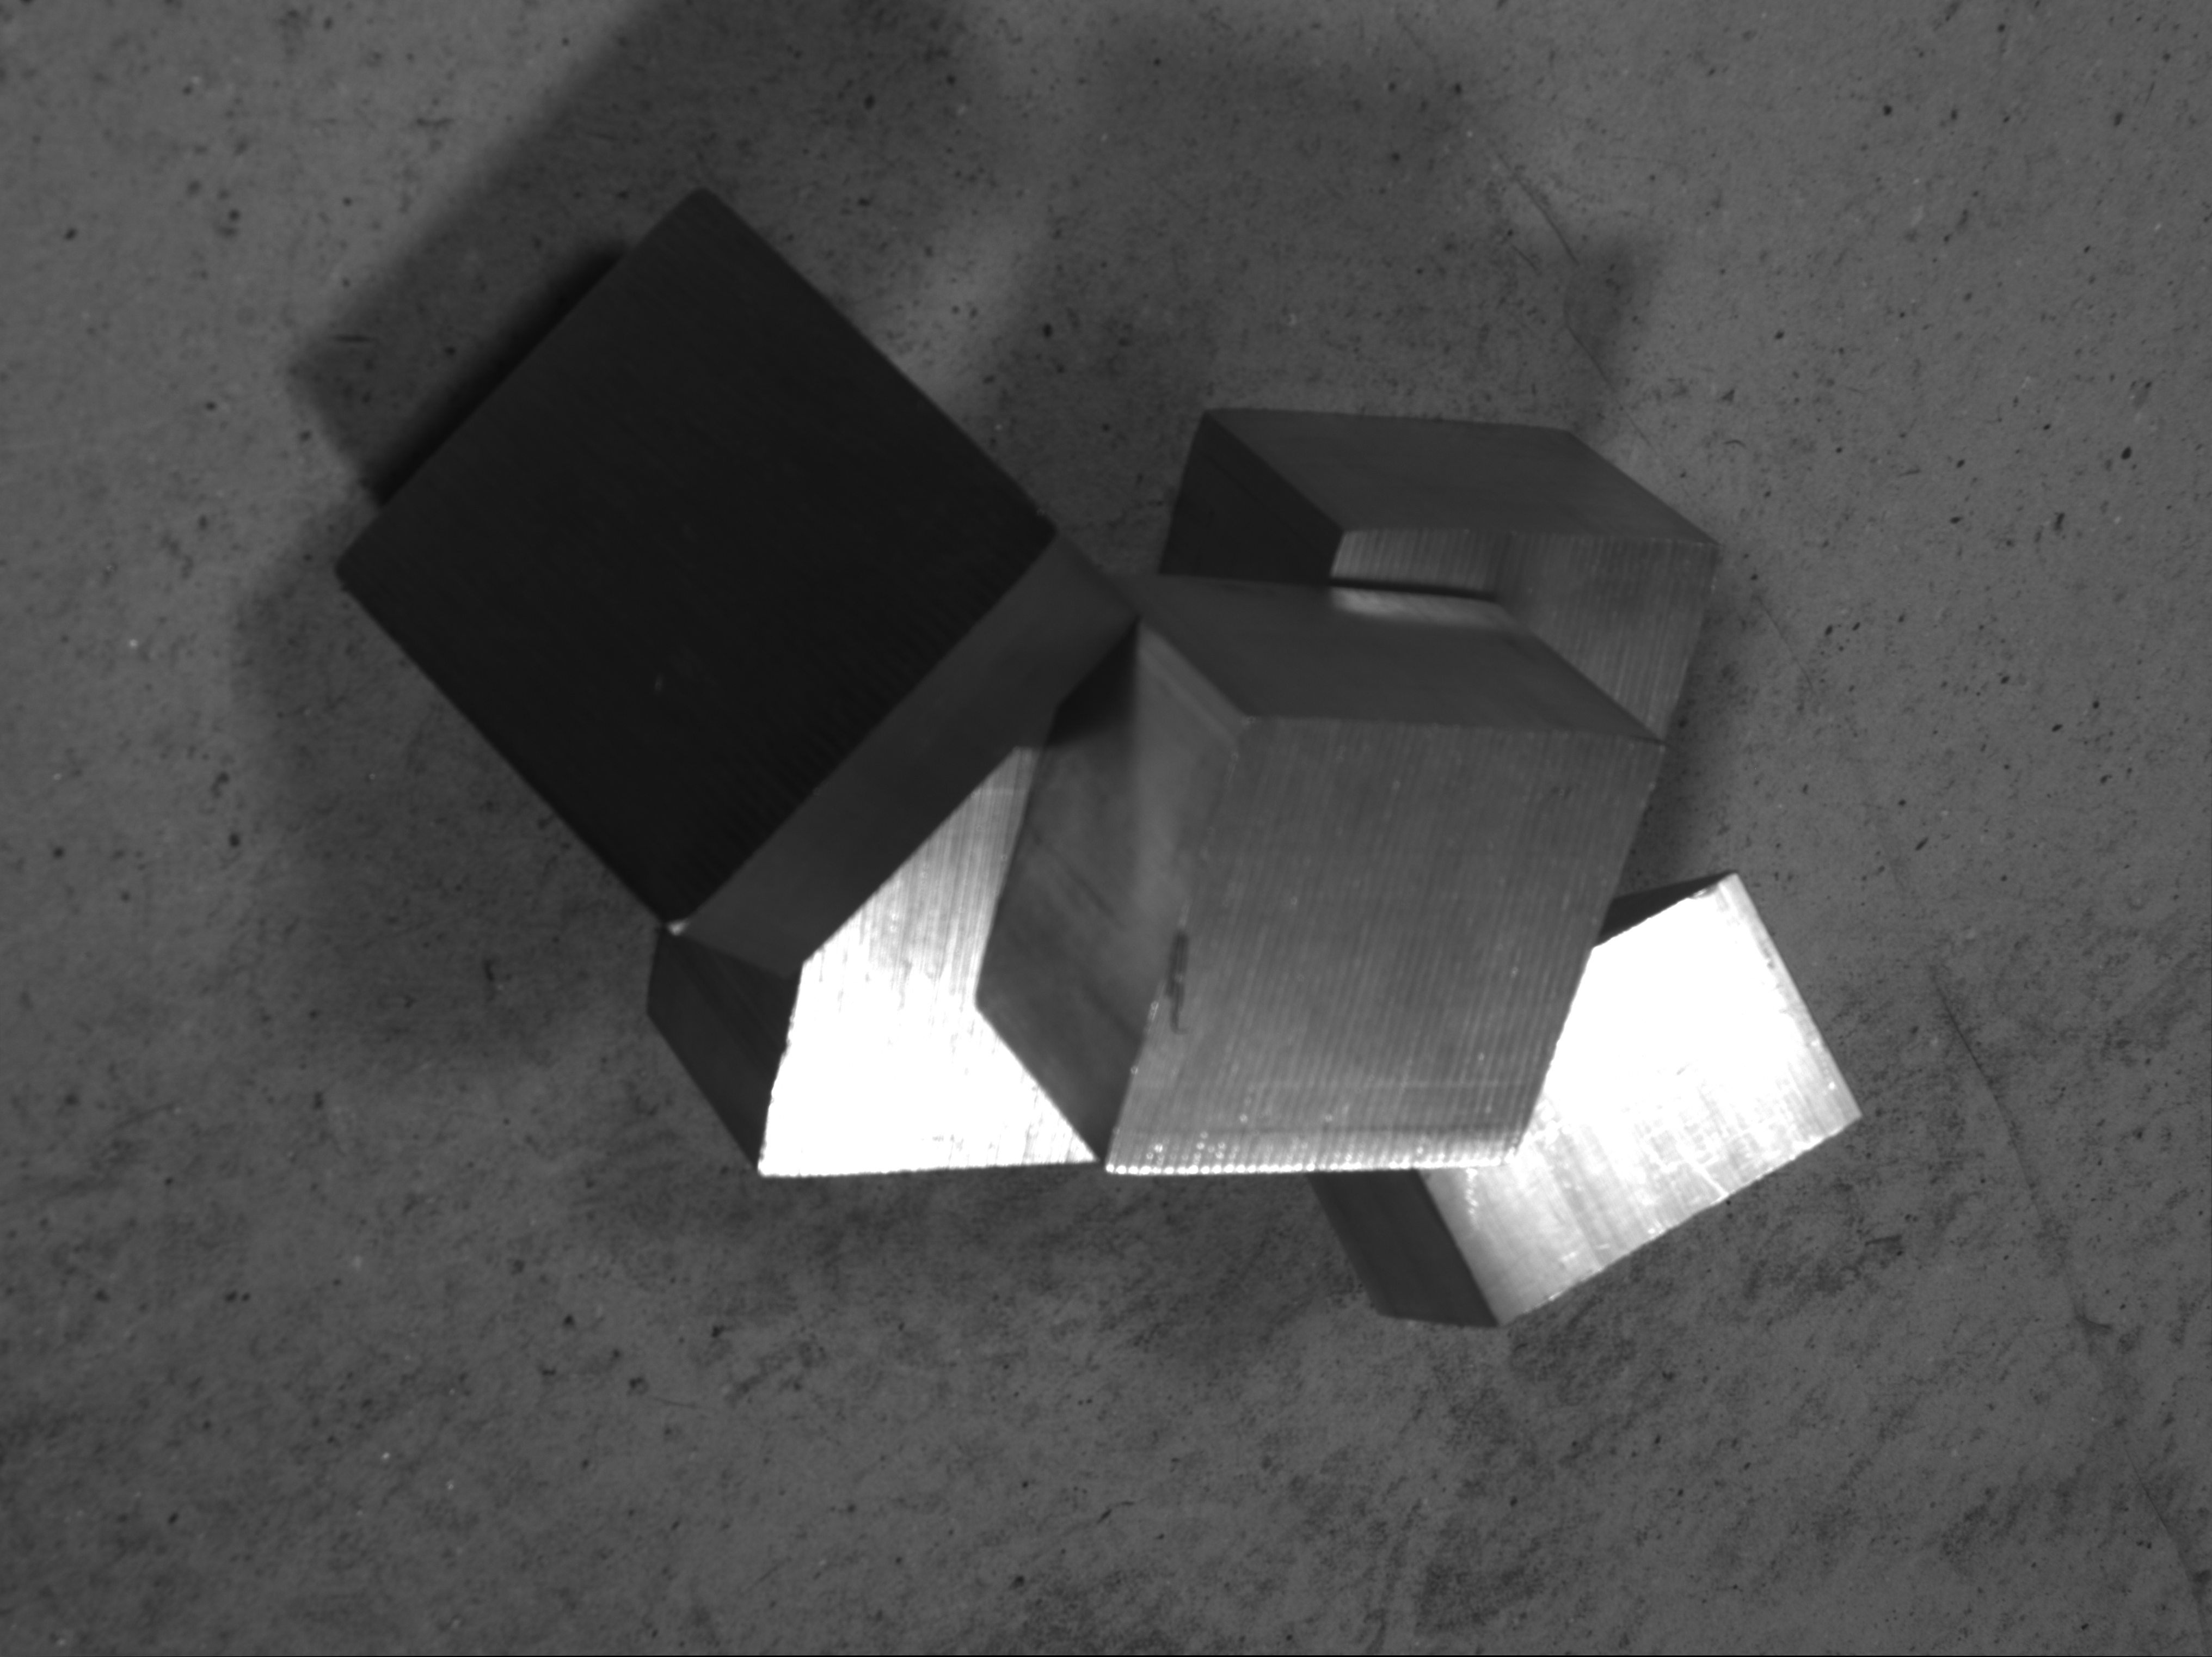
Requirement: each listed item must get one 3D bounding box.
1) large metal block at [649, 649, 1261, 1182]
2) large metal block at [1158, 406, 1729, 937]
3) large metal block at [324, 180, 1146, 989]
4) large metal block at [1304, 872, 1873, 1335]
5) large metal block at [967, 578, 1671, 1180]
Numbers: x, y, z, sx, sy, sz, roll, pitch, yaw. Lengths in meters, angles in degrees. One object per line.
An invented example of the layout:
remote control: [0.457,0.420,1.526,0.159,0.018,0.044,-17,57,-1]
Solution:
large metal block: [-0.025,0.011,0.625,0.080,0.050,0.080,0,118,-30]
large metal block: [0.053,-0.026,0.650,0.080,0.050,0.080,0,118,-30]
large metal block: [-0.055,-0.035,0.552,0.080,0.080,0.050,-46,163,2]
large metal block: [0.084,0.052,0.687,0.080,0.080,0.050,-28,91,-13]
large metal block: [0.033,0.009,0.591,0.080,0.050,0.080,2,117,-31]
